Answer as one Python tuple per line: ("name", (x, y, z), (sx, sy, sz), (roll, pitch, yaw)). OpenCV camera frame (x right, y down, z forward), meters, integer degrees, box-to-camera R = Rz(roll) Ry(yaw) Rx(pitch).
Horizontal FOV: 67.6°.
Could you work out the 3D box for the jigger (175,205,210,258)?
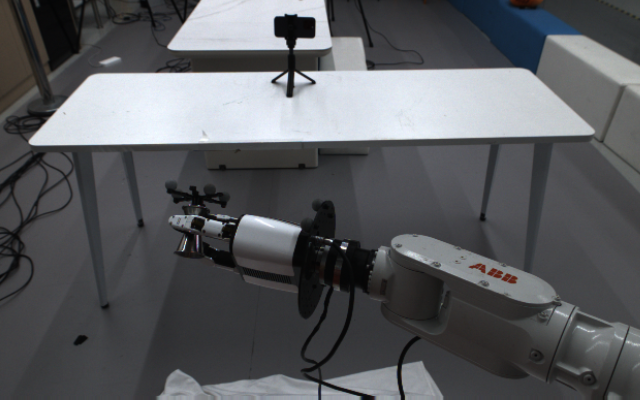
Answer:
("jigger", (-0.180, 0.044, 0.682), (0.043, 0.043, 0.071), (3, 72, 1))
